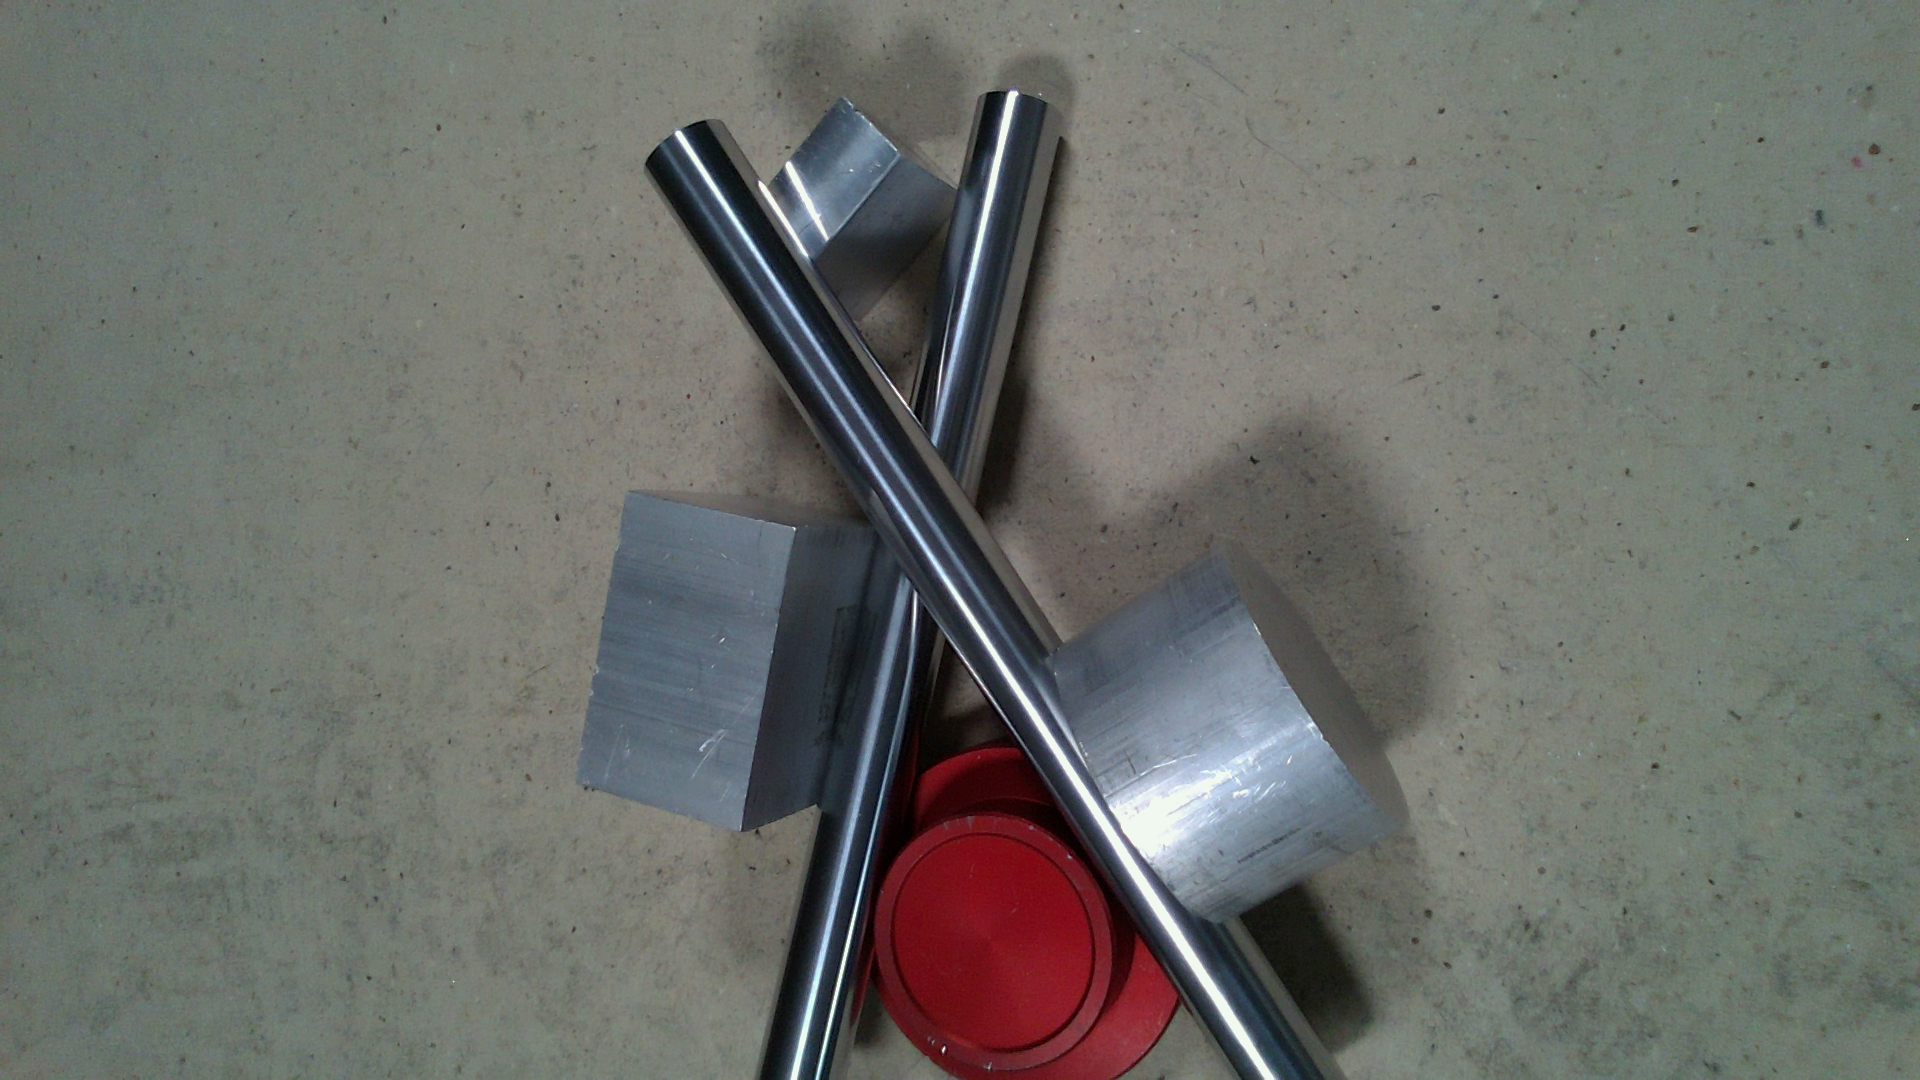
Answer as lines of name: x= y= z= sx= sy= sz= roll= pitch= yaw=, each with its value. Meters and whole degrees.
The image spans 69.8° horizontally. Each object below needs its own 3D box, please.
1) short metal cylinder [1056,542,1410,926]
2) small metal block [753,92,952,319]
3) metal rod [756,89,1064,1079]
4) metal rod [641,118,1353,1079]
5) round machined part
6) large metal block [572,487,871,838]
short metal cylinder: x=0.068 y=0.048 z=0.343 sx=0.050 sy=0.080 sz=0.080 roll=-34 pitch=79 yaw=17
small metal block: x=-0.031 y=-0.093 z=0.394 sx=0.025 sy=0.050 sz=0.050 roll=47 pitch=104 yaw=14
metal rod: x=-0.016 y=0.024 z=0.386 sx=0.025 sy=0.025 sz=0.300 roll=12 pitch=88 yaw=20
metal rod: x=0.010 y=0.022 z=0.356 sx=0.025 sy=0.025 sz=0.300 roll=-34 pitch=88 yaw=17
round machined part: x=0.016 y=0.107 z=0.382 sx=0.098 sy=0.042 sz=0.098 roll=0 pitch=90 yaw=20
large metal block: x=-0.058 y=0.030 z=0.388 sx=0.050 sy=0.080 sz=0.080 roll=12 pitch=94 yaw=20
